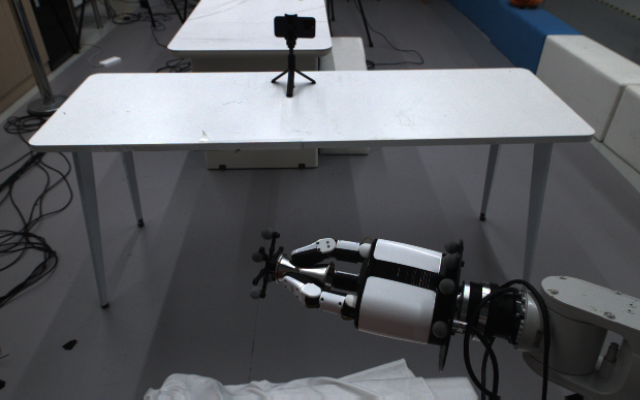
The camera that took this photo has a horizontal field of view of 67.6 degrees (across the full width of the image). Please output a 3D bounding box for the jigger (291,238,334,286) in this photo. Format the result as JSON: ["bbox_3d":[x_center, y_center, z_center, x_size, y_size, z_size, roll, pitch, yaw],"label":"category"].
[{"bbox_3d":[-0.013,0.093,0.629,0.071,0.043,0.043,10,36,15],"label":"jigger"}]
